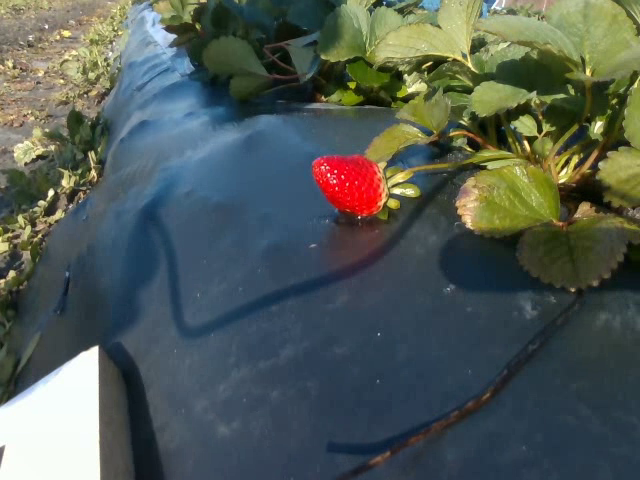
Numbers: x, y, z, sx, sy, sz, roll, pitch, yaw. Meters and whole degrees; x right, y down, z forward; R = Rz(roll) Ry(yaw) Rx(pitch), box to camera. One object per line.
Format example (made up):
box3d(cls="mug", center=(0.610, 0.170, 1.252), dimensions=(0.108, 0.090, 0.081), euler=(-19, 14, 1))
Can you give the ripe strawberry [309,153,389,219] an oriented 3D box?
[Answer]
box3d(cls="ripe strawberry", center=(0.011, -0.023, 0.240), dimensions=(0.041, 0.031, 0.028), euler=(24, -15, -38))
